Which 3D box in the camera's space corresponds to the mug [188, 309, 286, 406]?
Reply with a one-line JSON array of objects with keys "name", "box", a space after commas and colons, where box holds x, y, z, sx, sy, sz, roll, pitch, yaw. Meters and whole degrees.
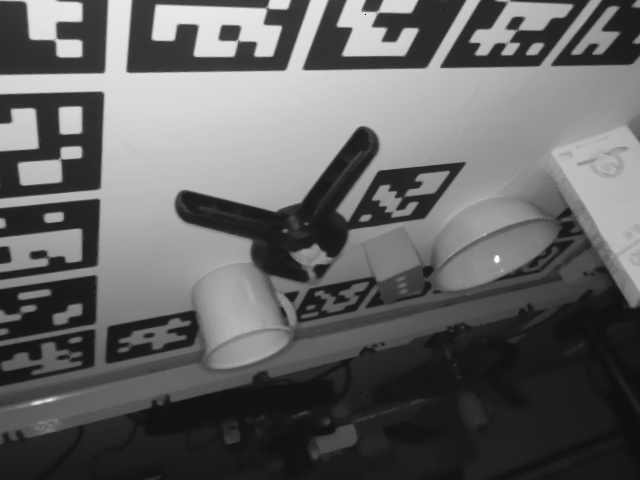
[{"name": "mug", "box": [-0.089, 0.127, 0.760, 0.119, 0.081, 0.092, 13, 135, -39]}]

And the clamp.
[{"name": "clamp", "box": [-0.038, 0.034, 0.683, 0.166, 0.037, 0.202, -23, 148, -2]}]

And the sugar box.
[{"name": "sugar box", "box": [0.299, 0.006, 0.727, 0.093, 0.177, 0.045, -20, 147, 1]}]

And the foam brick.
[{"name": "foam brick", "box": [0.068, 0.070, 0.815, 0.053, 0.051, 0.078, -24, 148, 2]}]

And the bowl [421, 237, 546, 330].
[{"name": "bowl", "box": [0.184, 0.045, 0.833, 0.163, 0.055, 0.160, -15, 148, -9]}]
